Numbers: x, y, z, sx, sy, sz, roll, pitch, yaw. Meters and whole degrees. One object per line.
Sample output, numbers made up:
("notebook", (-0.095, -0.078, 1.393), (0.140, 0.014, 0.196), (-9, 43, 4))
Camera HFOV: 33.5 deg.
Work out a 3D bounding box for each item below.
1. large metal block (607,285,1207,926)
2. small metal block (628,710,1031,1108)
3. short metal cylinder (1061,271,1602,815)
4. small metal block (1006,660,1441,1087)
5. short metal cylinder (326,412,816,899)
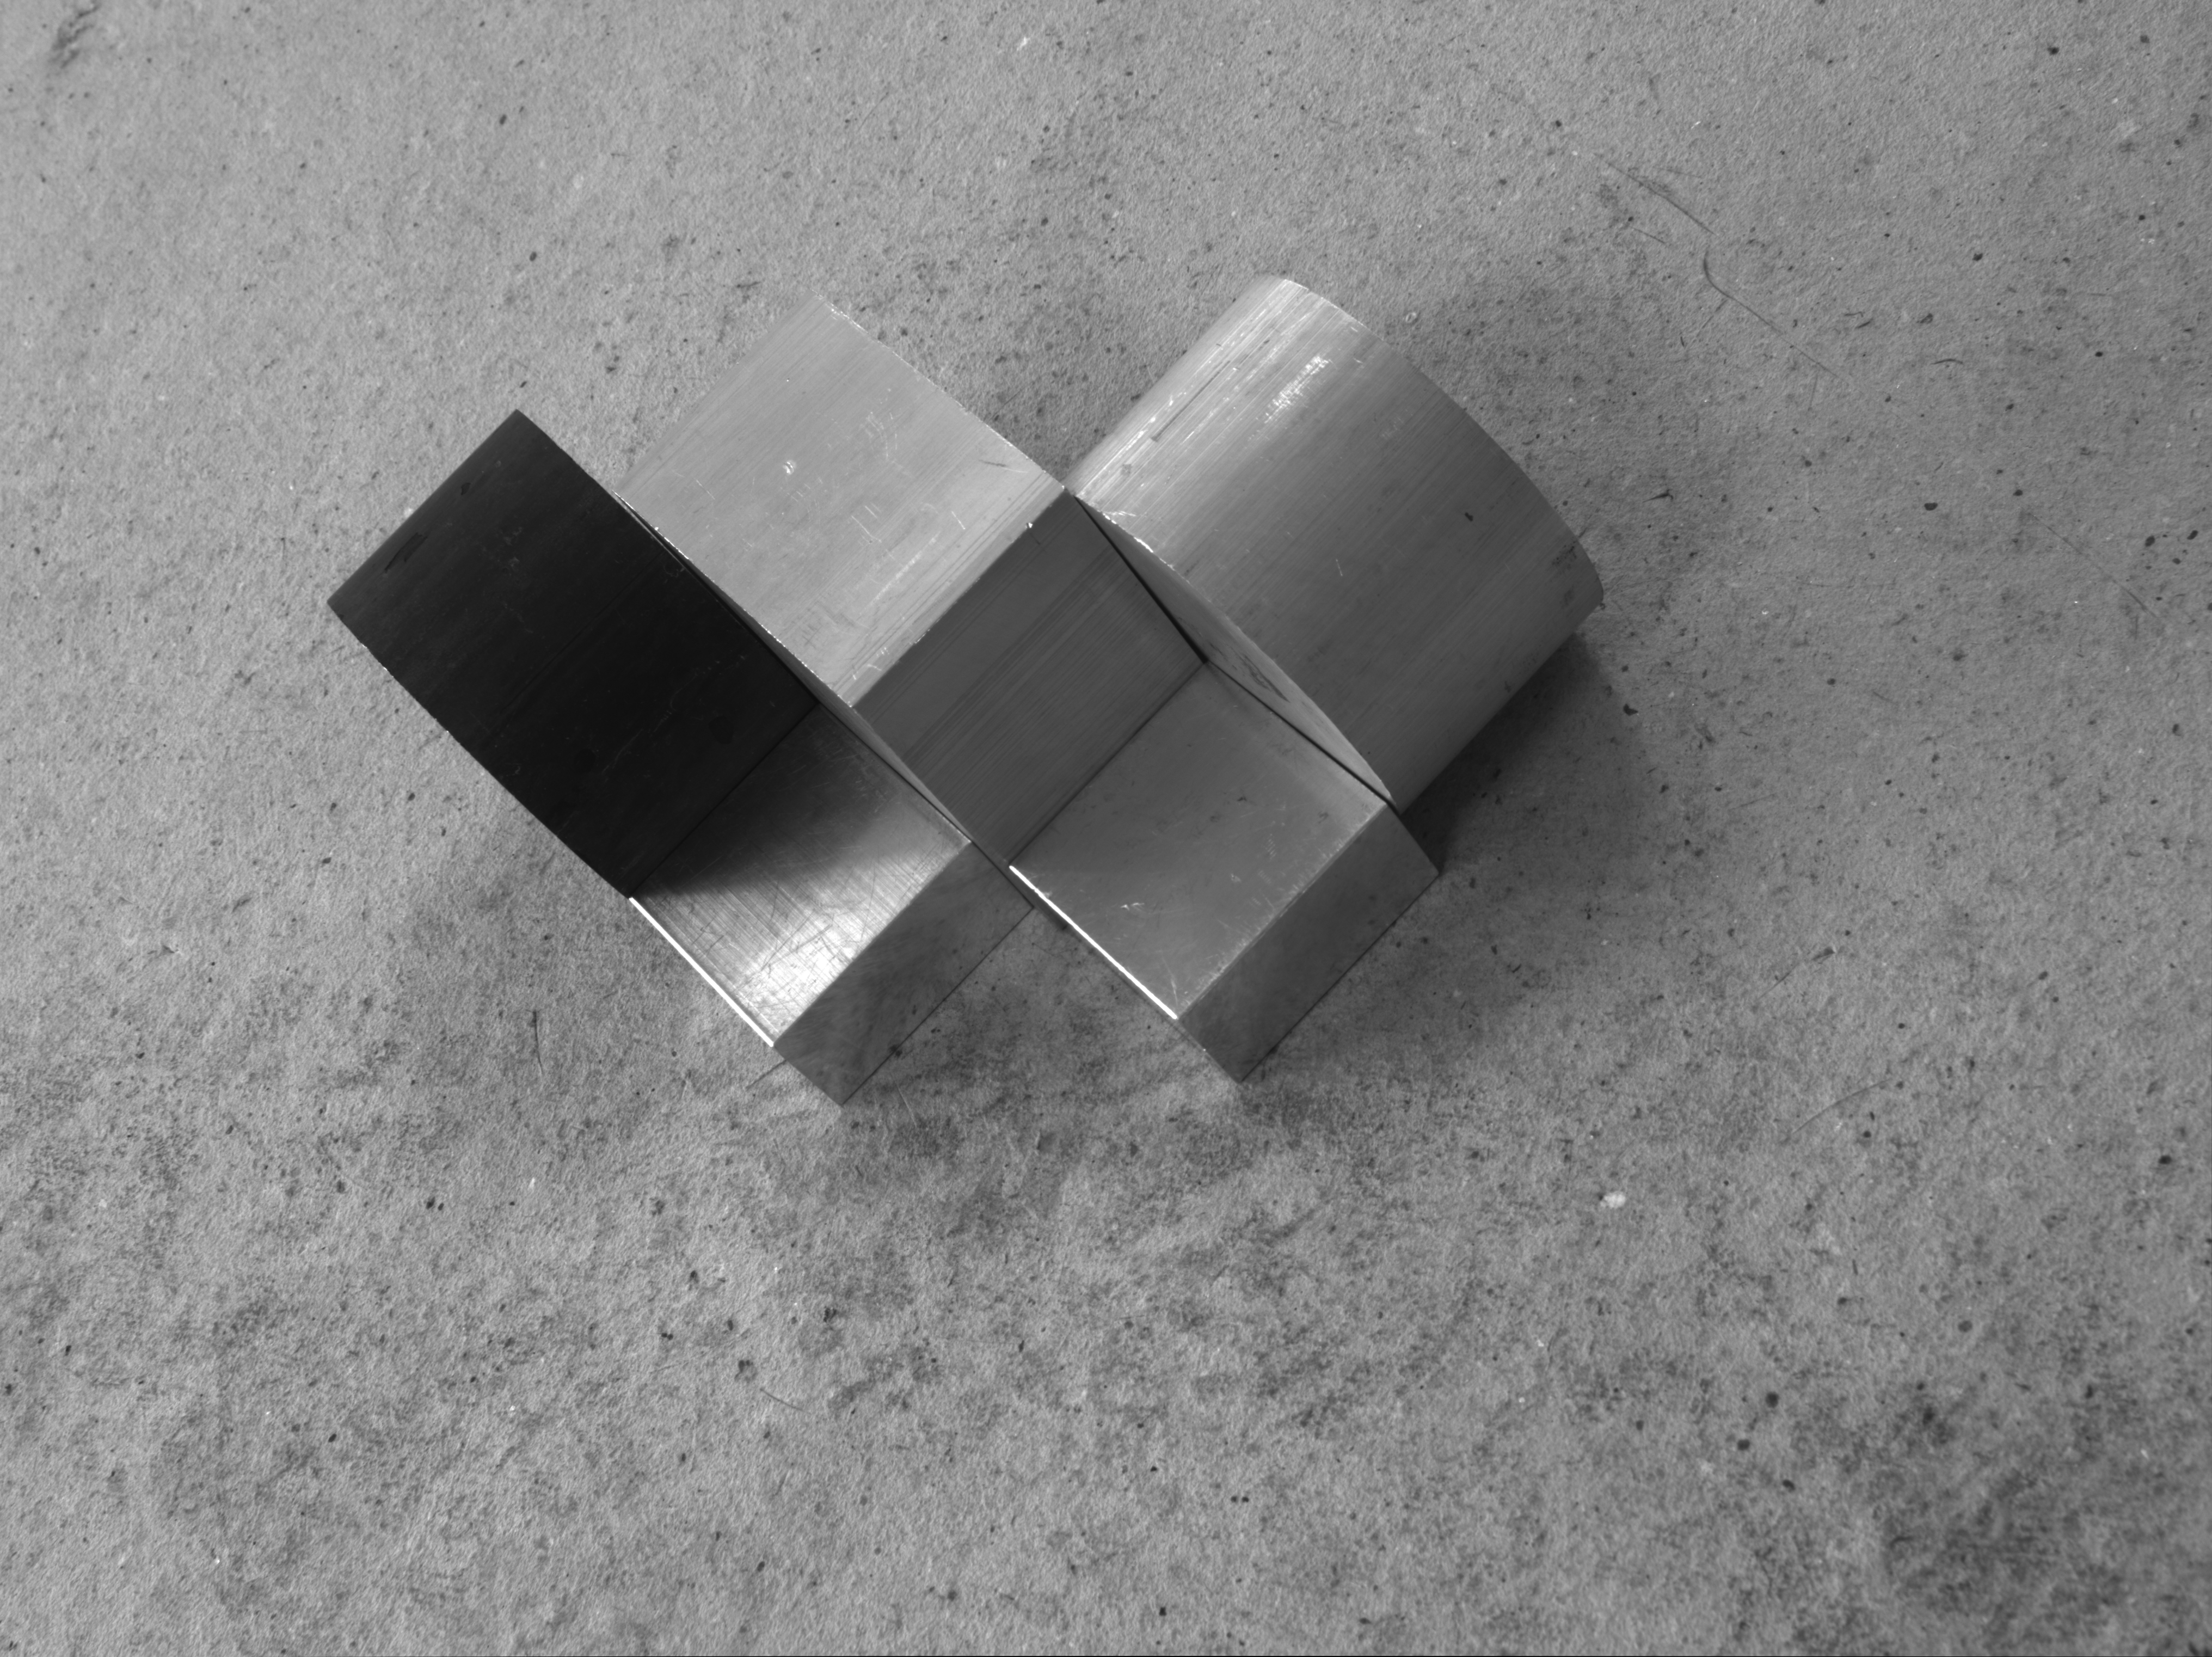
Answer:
("large metal block", (-0.030, -0.038, 0.651), (0.050, 0.080, 0.080), (-46, 51, -4))
("small metal block", (-0.050, 0.013, 0.666), (0.050, 0.025, 0.050), (-46, 51, -4))
("short metal cylinder", (0.037, -0.047, 0.620), (0.050, 0.080, 0.080), (-46, 51, -4))
("small metal block", (0.020, 0.007, 0.631), (0.050, 0.025, 0.050), (-46, 51, -4))
("short metal cylinder", (-0.098, -0.031, 0.683), (0.050, 0.080, 0.080), (-46, 51, -4))
